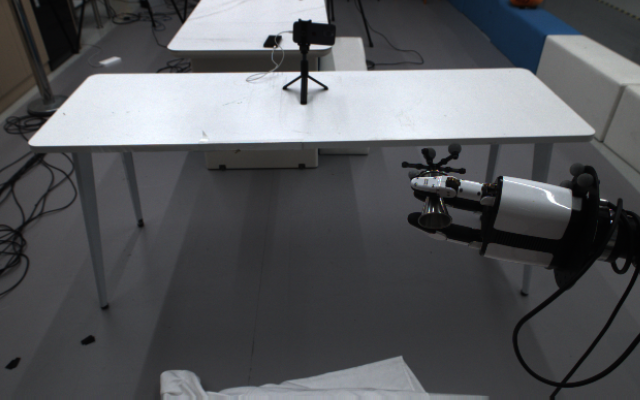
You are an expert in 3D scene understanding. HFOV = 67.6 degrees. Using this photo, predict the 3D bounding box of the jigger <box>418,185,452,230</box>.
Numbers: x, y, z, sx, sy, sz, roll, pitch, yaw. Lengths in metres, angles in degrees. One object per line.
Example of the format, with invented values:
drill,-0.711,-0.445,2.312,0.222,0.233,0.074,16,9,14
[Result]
jigger,0.153,-0.002,0.654,0.043,0.043,0.071,4,61,3
